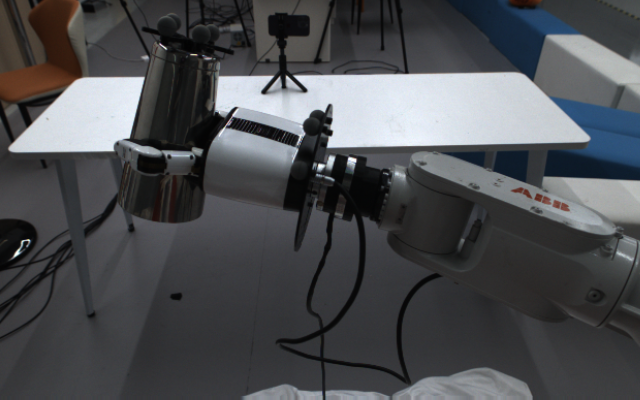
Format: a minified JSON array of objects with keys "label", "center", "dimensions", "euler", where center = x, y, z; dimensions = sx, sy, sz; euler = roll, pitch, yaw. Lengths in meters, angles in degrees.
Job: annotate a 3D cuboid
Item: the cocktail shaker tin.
[{"label":"cocktail shaker tin","center":[-0.152,-0.071,0.508],"dimensions":[0.093,0.170,0.093],"euler":[15,20,-5]}]
